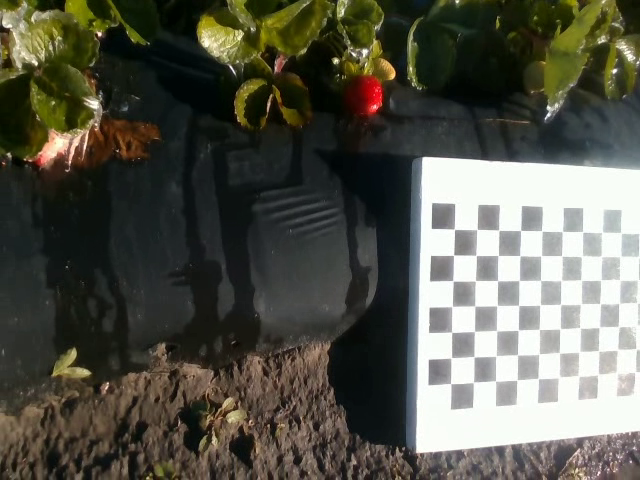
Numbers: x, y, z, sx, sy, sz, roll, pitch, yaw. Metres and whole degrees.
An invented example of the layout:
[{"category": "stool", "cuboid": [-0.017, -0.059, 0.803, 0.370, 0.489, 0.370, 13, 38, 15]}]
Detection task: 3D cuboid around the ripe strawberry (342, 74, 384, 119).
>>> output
[{"category": "ripe strawberry", "cuboid": [0.033, -0.099, 0.401, 0.039, 0.040, 0.039, -8, 29, -6]}]
